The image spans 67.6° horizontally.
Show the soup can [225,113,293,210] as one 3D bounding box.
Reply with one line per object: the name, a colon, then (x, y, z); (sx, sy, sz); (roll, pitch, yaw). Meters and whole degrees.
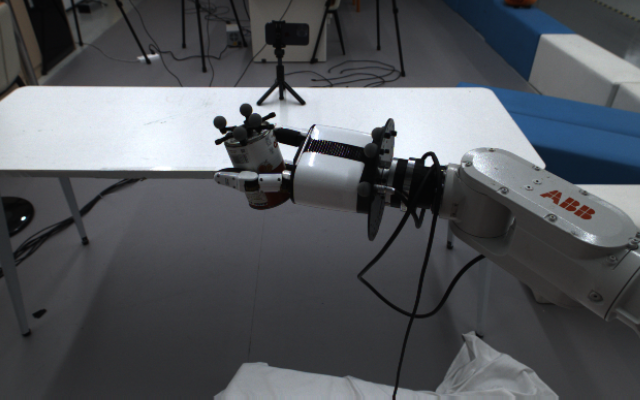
soup can: (-0.080, -0.046, 0.655); (0.067, 0.101, 0.067); (-14, 31, 8)
